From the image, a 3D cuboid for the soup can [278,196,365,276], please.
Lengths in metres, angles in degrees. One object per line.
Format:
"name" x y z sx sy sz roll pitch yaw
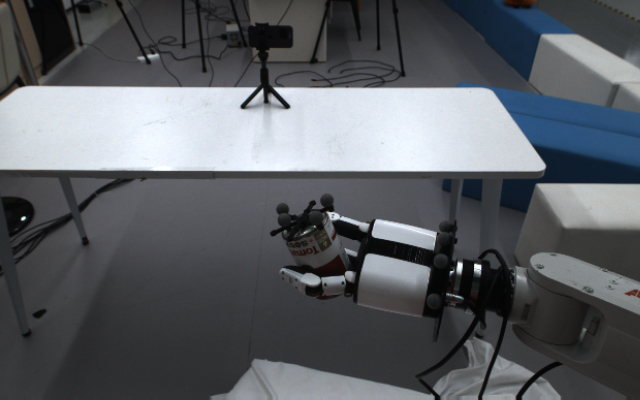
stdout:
"soup can" 0.001 0.071 0.642 0.067 0.101 0.067 -21 24 10
